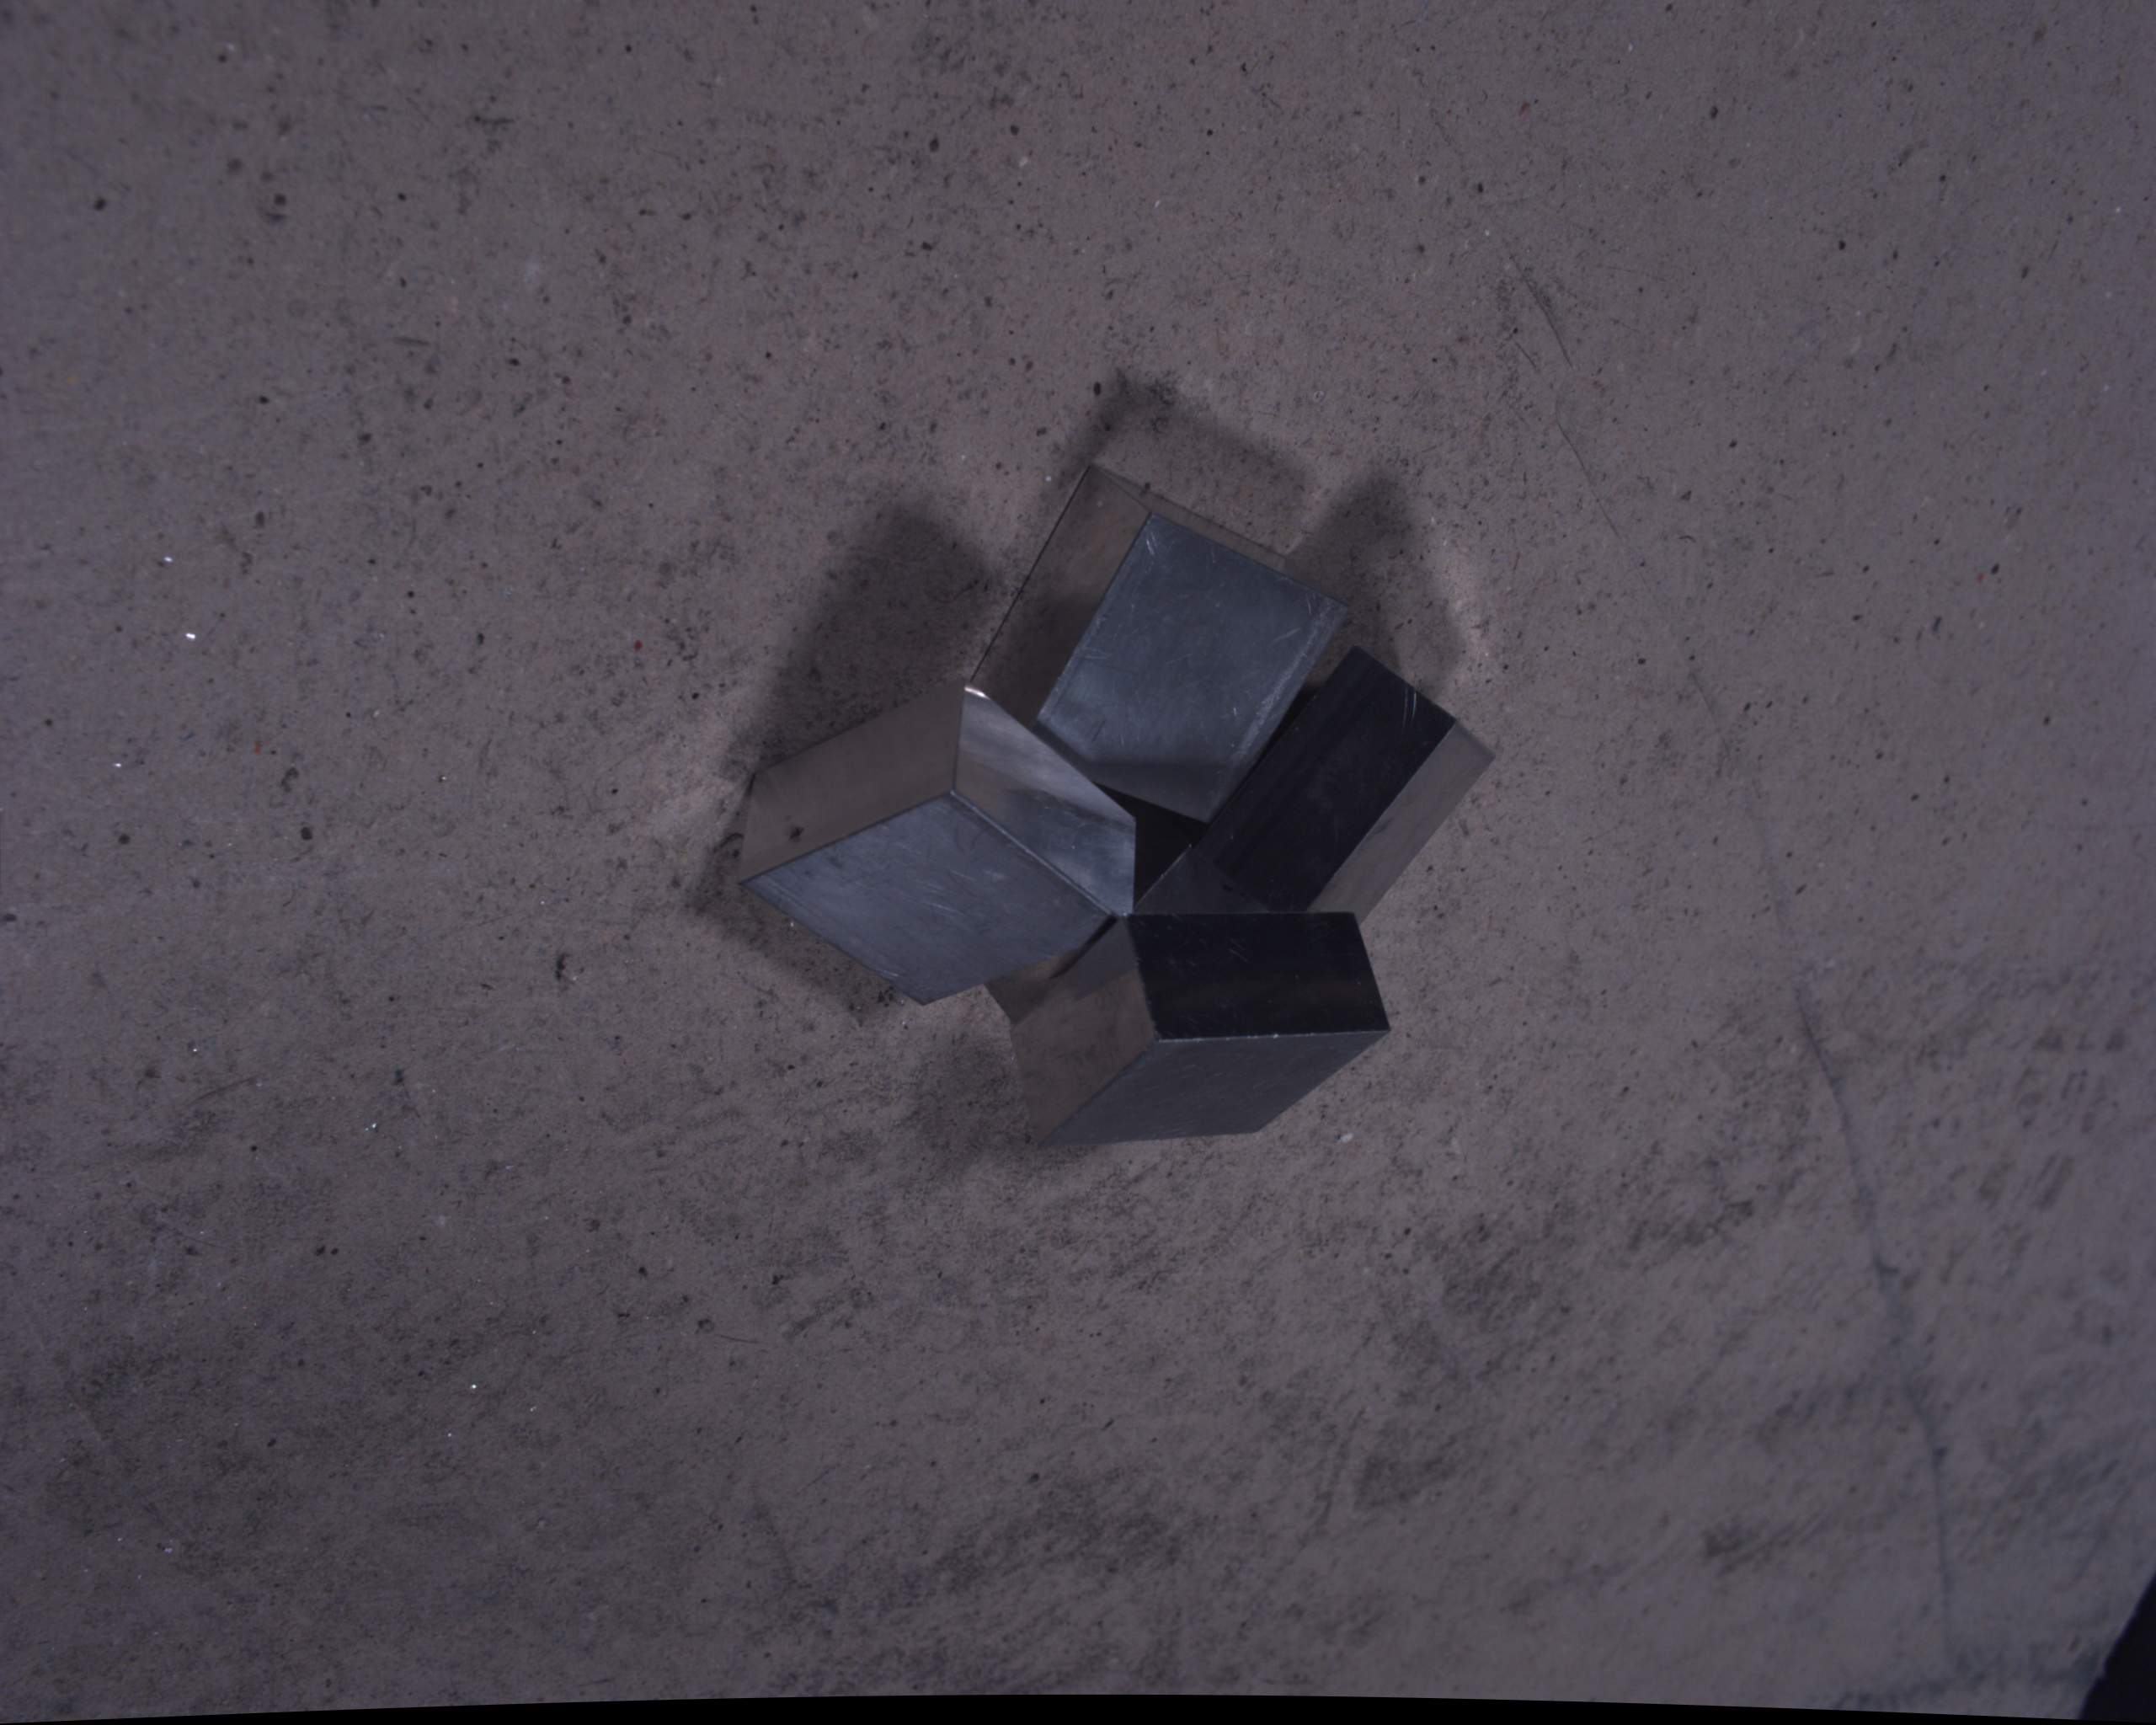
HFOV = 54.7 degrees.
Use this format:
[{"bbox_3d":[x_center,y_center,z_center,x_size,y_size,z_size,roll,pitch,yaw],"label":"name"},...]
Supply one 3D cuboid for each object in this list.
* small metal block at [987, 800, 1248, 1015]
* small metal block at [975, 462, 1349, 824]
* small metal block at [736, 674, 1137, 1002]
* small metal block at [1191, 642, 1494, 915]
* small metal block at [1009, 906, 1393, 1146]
[{"bbox_3d":[0.015,0.020,0.431,0.050,0.025,0.050,-48,129,5],"label":"small metal block"},{"bbox_3d":[0.014,-0.040,0.393,0.050,0.025,0.050,19,108,-36],"label":"small metal block"},{"bbox_3d":[-0.025,-0.003,0.380,0.050,0.025,0.050,-21,139,31],"label":"small metal block"},{"bbox_3d":[0.054,-0.013,0.418,0.050,0.025,0.050,-52,162,8],"label":"small metal block"},{"bbox_3d":[0.022,0.031,0.394,0.050,0.025,0.050,0,151,-29],"label":"small metal block"}]
